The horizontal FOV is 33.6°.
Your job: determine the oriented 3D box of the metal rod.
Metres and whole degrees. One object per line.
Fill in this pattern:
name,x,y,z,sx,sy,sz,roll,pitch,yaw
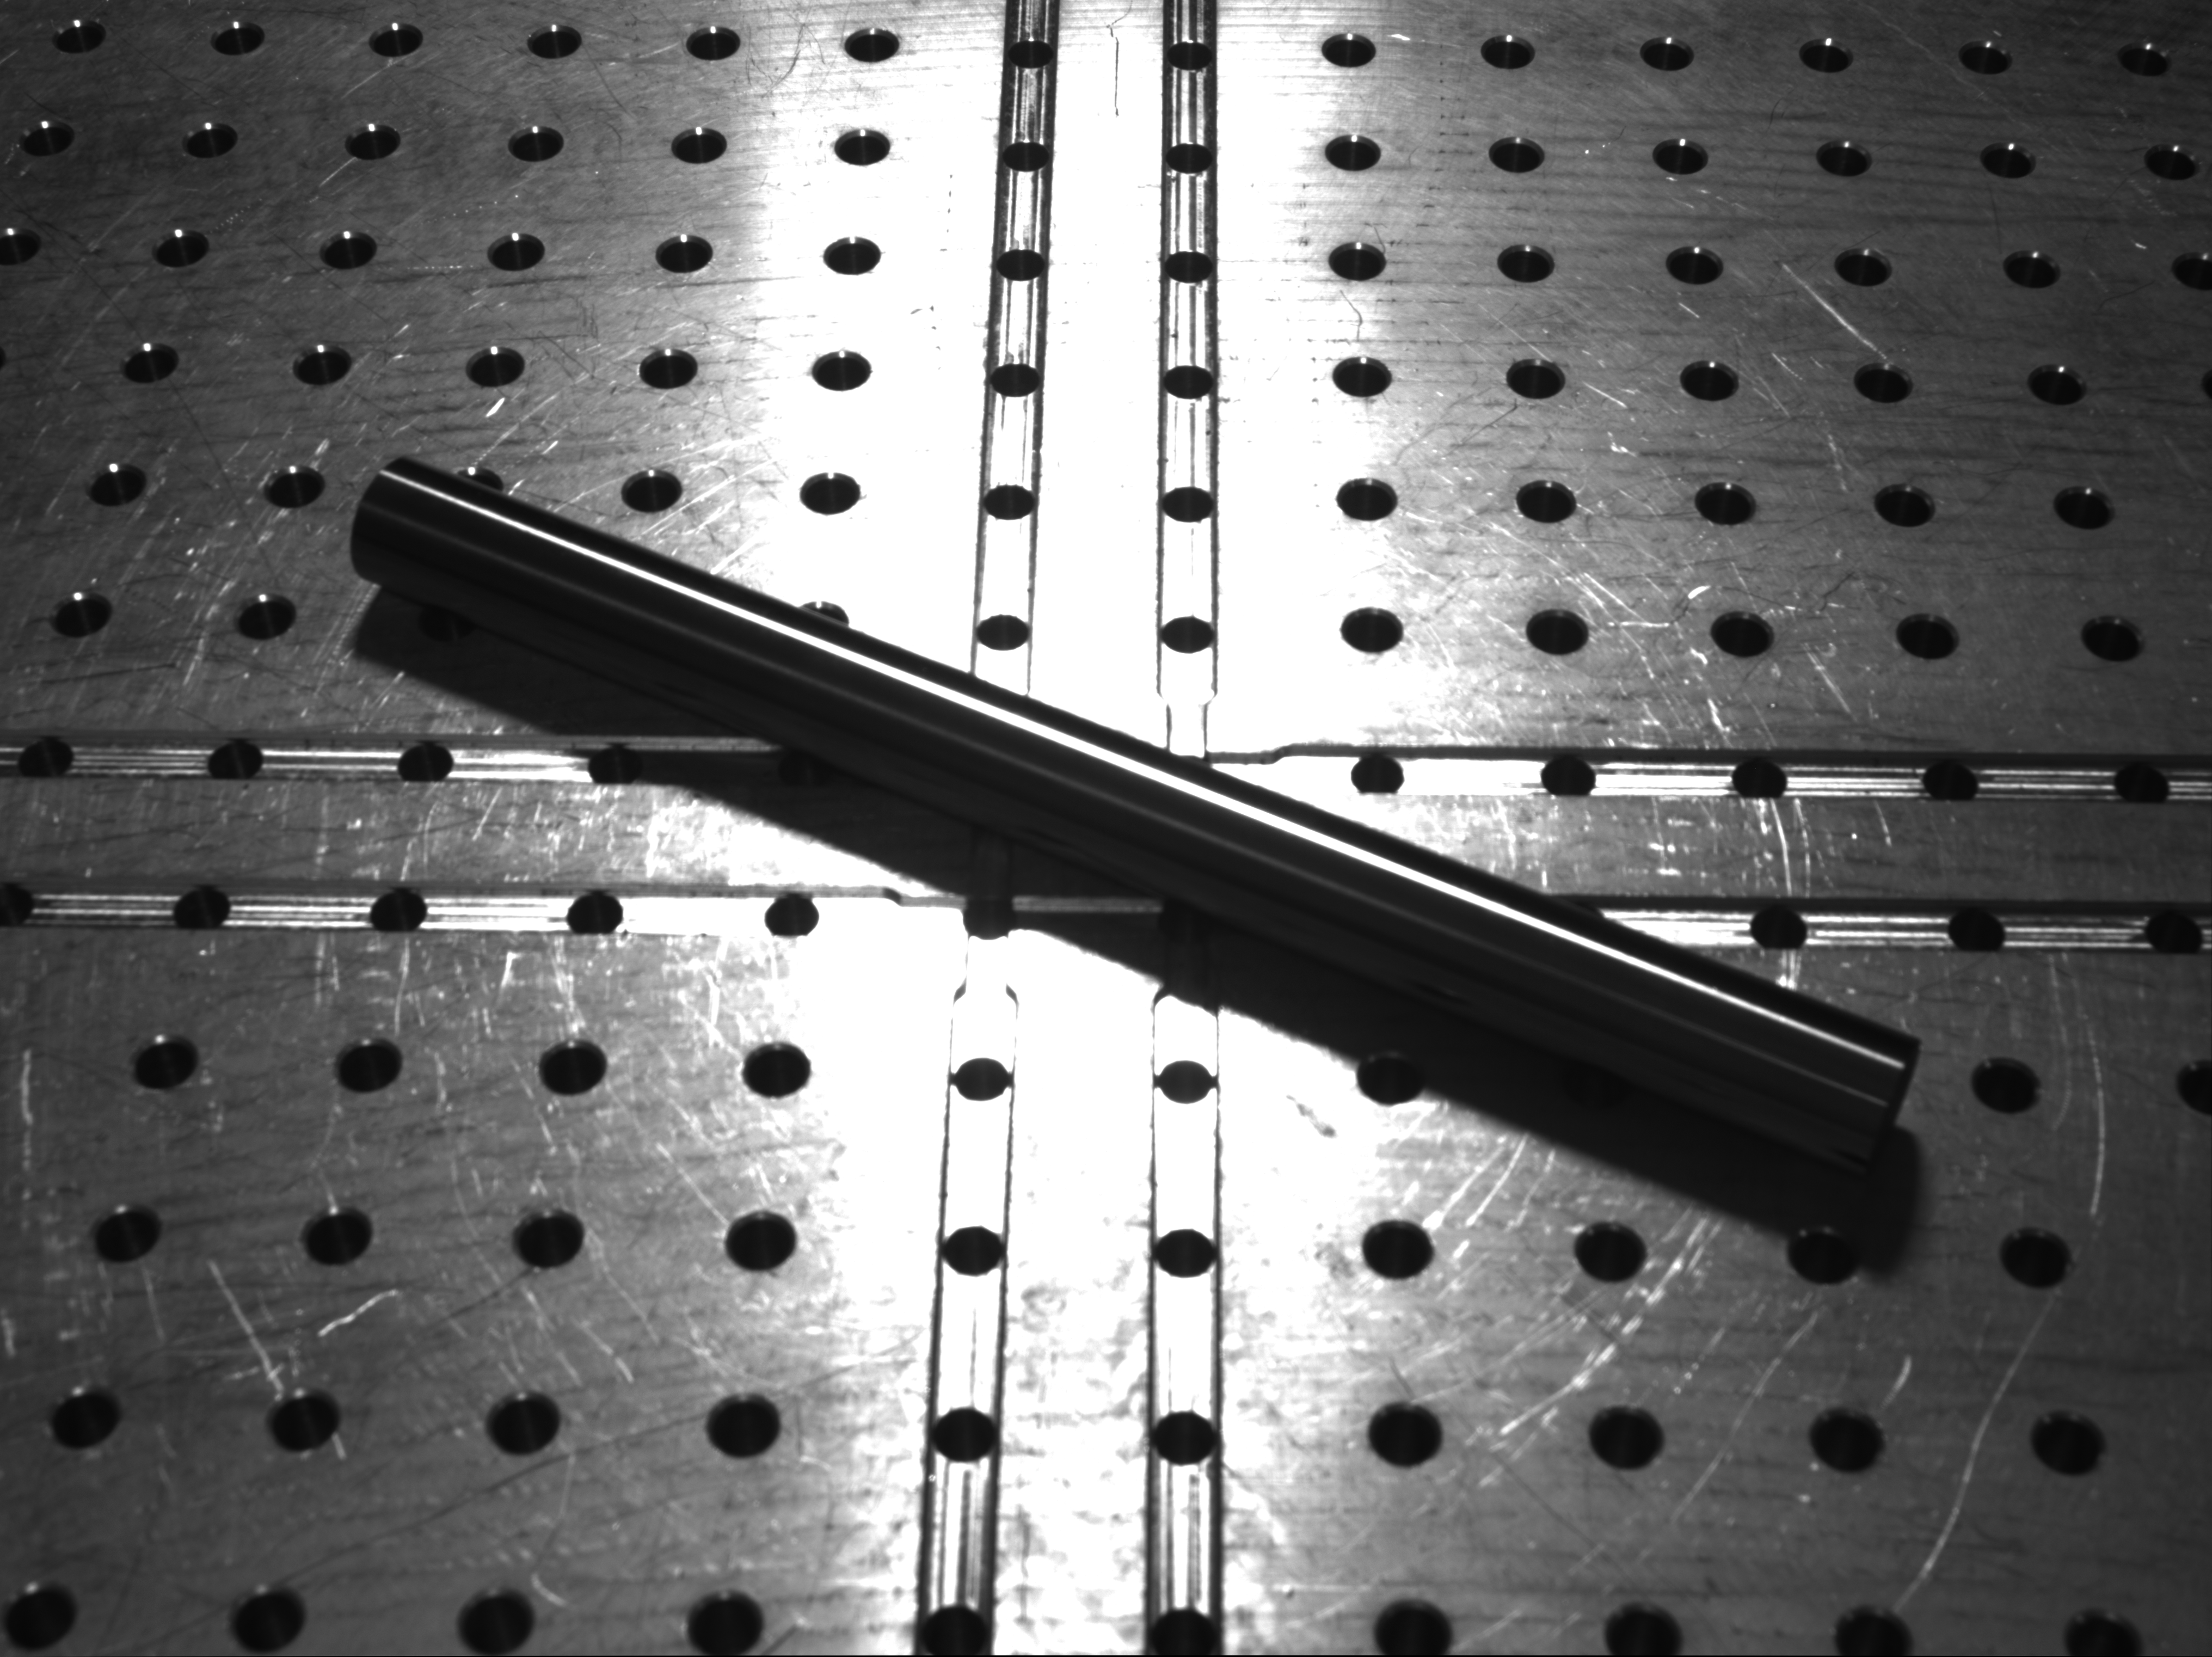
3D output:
metal rod,0.000,-0.006,0.650,0.300,0.025,0.025,22,53,17
